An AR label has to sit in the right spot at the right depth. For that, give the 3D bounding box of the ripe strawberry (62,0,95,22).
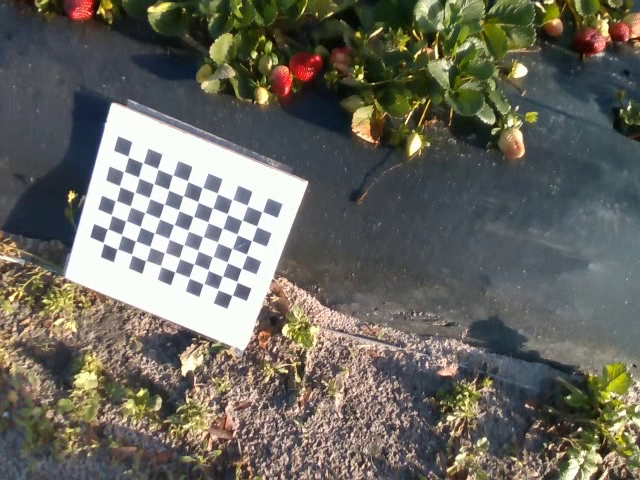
[{"bbox_3d":[-0.346,-0.329,1.089,0.052,0.052,0.041,-8,-45,8],"label":"ripe strawberry"}]
